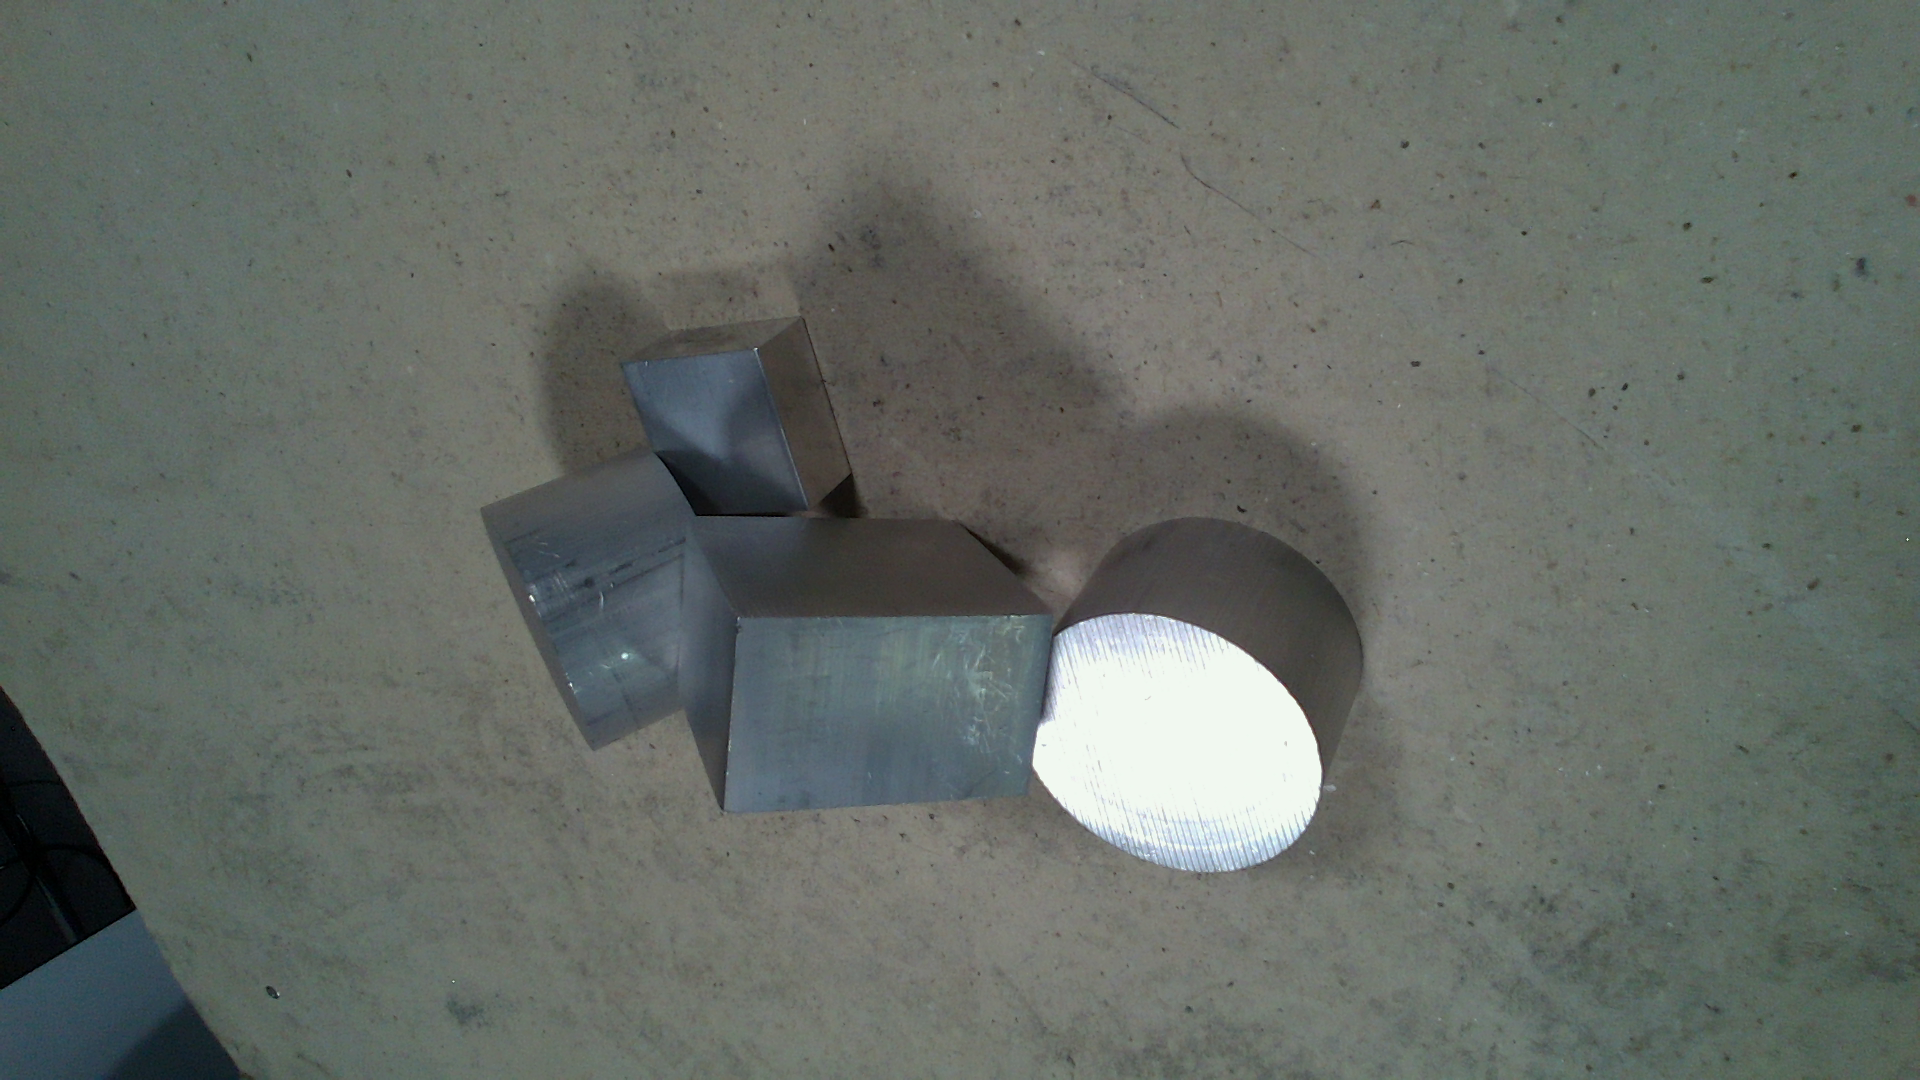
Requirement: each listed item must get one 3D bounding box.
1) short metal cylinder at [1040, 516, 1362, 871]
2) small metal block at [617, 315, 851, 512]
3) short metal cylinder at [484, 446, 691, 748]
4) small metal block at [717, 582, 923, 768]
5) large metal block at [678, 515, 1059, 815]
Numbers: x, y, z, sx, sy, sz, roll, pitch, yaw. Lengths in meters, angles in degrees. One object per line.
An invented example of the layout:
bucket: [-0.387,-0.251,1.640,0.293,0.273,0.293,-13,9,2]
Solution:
short metal cylinder: [0.062,0.041,0.369,0.080,0.050,0.080,13,124,21]
small metal block: [-0.066,-0.036,0.406,0.050,0.025,0.050,-1,118,29]
short metal cylinder: [-0.105,0.017,0.421,0.080,0.050,0.080,51,156,34]
small metal block: [-0.044,0.043,0.443,0.050,0.025,0.050,3,120,27]
large metal block: [-0.029,0.029,0.367,0.080,0.080,0.050,0,108,-20]
